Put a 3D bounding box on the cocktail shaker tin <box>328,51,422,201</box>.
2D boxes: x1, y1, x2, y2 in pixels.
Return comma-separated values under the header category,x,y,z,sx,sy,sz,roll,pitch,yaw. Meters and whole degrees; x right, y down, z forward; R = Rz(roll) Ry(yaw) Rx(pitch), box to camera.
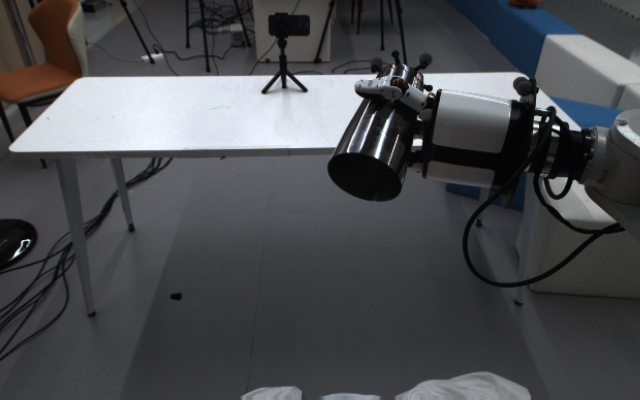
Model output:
category,x,y,z,sx,sy,sz,roll,pitch,yaw
cocktail shaker tin,0.080,-0.094,0.613,0.093,0.093,0.170,14,57,16
